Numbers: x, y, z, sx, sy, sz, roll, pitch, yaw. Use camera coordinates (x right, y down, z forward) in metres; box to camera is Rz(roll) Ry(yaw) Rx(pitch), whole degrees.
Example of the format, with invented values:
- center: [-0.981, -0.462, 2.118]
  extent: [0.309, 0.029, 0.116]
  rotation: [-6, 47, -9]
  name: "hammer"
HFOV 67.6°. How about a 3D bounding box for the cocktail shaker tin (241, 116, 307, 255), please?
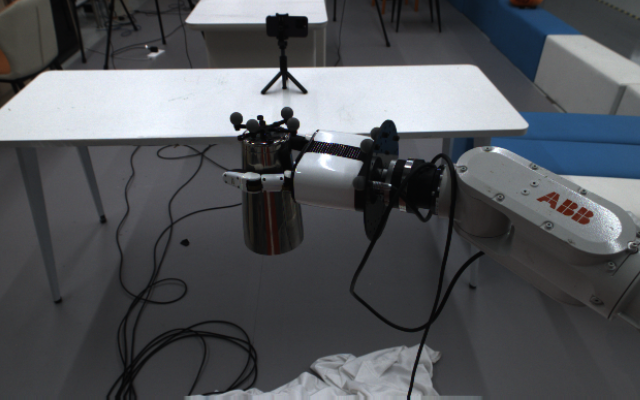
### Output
- center: [-0.069, -0.019, 0.696]
  extent: [0.093, 0.170, 0.093]
  rotation: [-1, 32, 1]
  name: "cocktail shaker tin"
